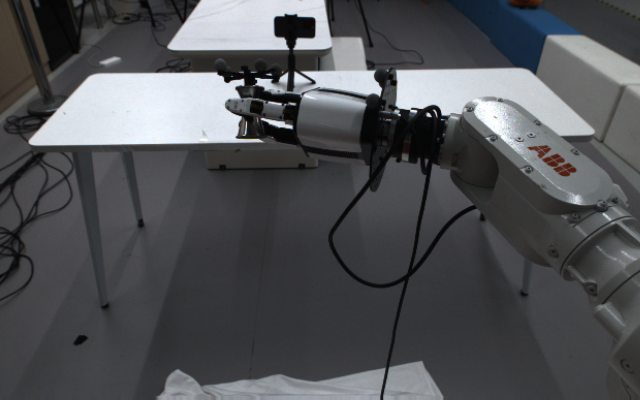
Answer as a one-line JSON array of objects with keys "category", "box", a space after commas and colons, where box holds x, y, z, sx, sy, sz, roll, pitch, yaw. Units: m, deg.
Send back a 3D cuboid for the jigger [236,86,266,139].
[{"category": "jigger", "box": [-0.096, -0.119, 0.664, 0.043, 0.071, 0.043, -2, 3, 0]}]
